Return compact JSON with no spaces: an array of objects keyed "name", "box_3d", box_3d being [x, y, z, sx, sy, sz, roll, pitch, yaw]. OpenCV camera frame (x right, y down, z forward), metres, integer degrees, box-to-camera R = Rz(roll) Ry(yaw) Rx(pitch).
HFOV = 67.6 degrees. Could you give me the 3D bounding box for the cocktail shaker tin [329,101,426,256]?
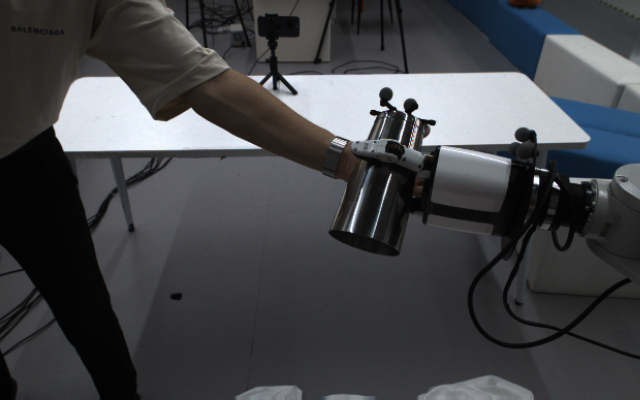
[{"name":"cocktail shaker tin","box_3d":[0.081,-0.023,0.616,0.093,0.093,0.170,14,75,17]}]
